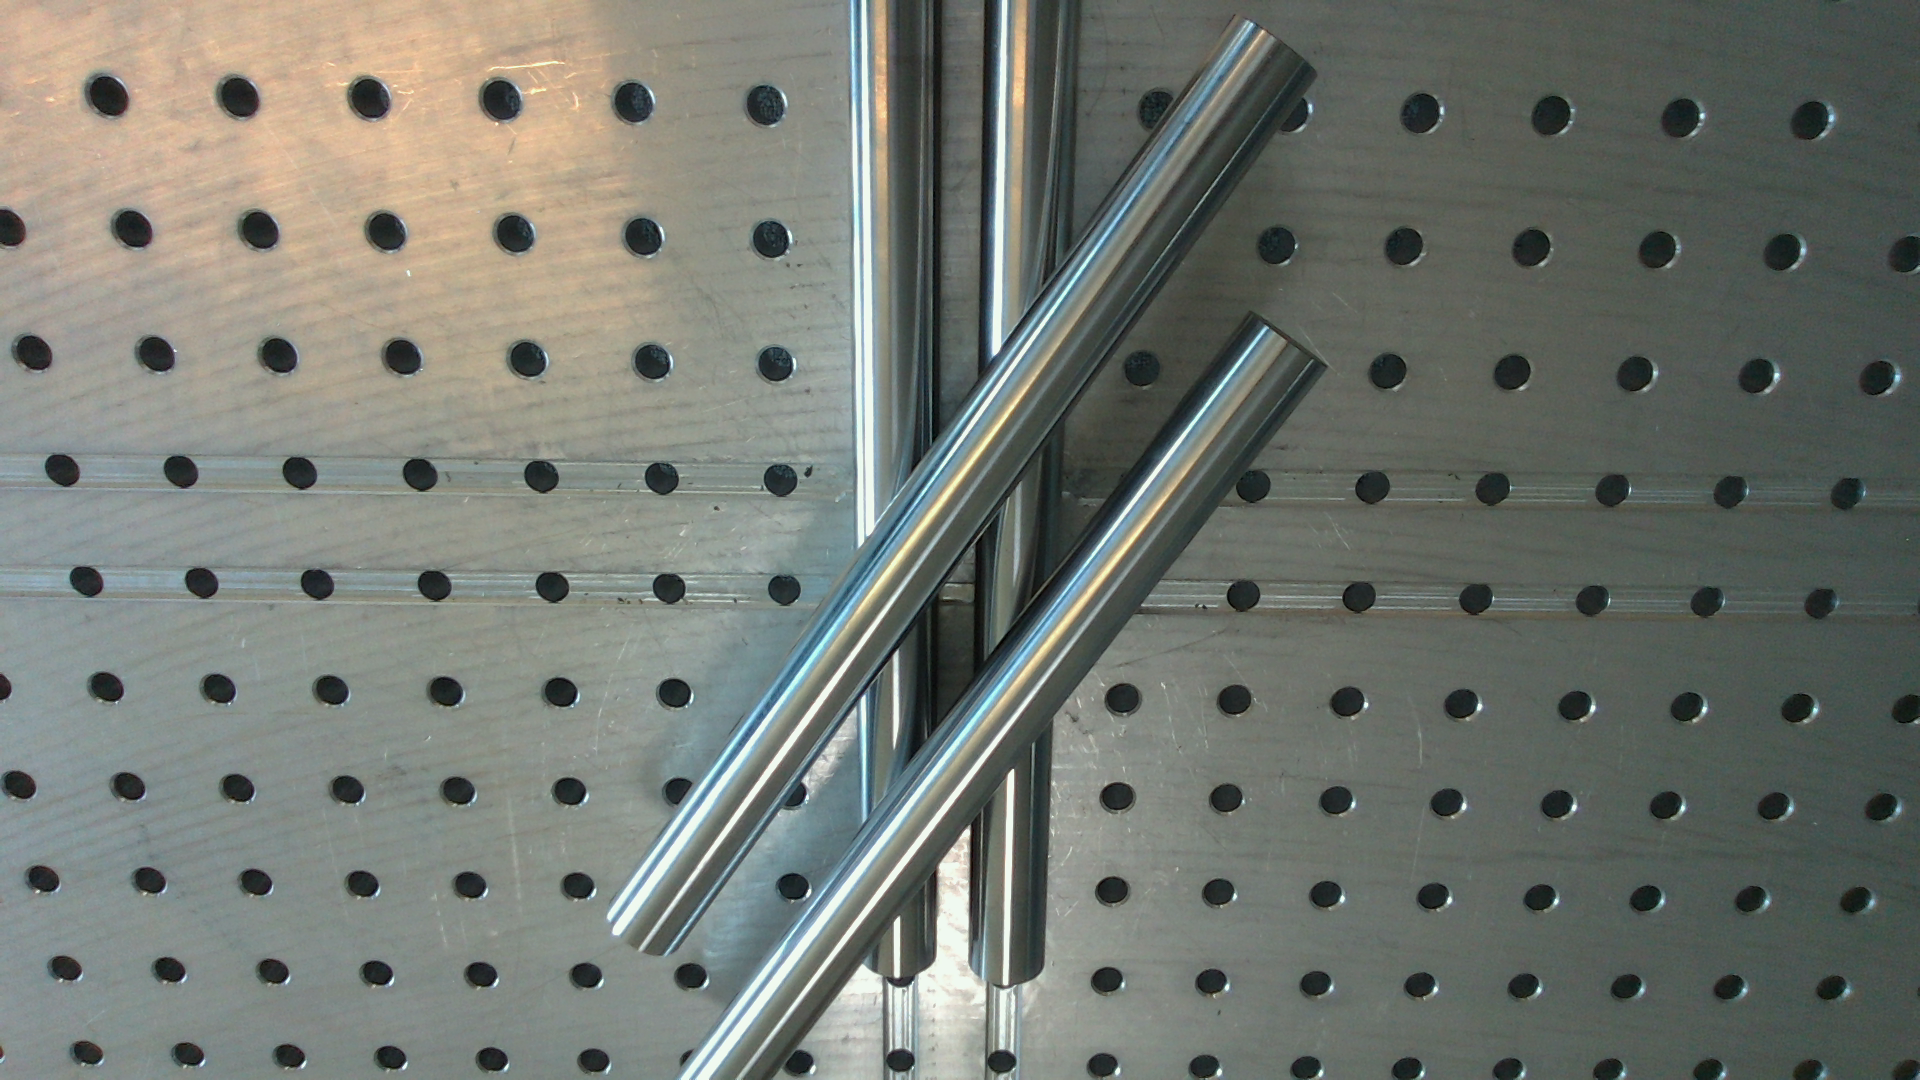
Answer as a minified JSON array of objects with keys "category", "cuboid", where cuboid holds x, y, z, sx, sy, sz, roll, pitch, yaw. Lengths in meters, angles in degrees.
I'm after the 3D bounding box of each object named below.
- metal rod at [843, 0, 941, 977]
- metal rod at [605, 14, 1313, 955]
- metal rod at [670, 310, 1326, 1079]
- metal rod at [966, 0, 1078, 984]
[{"category":"metal rod","cuboid":[-0.019,-0.007,0.394,0.025,0.025,0.300,1,110,0]},{"category":"metal rod","cuboid":[-0.010,-0.002,0.370,0.025,0.025,0.300,33,107,-11]},{"category":"metal rod","cuboid":[-0.001,0.065,0.394,0.025,0.025,0.300,32,107,-11]},{"category":"metal rod","cuboid":[0.016,-0.004,0.395,0.025,0.025,0.300,1,110,0]}]
